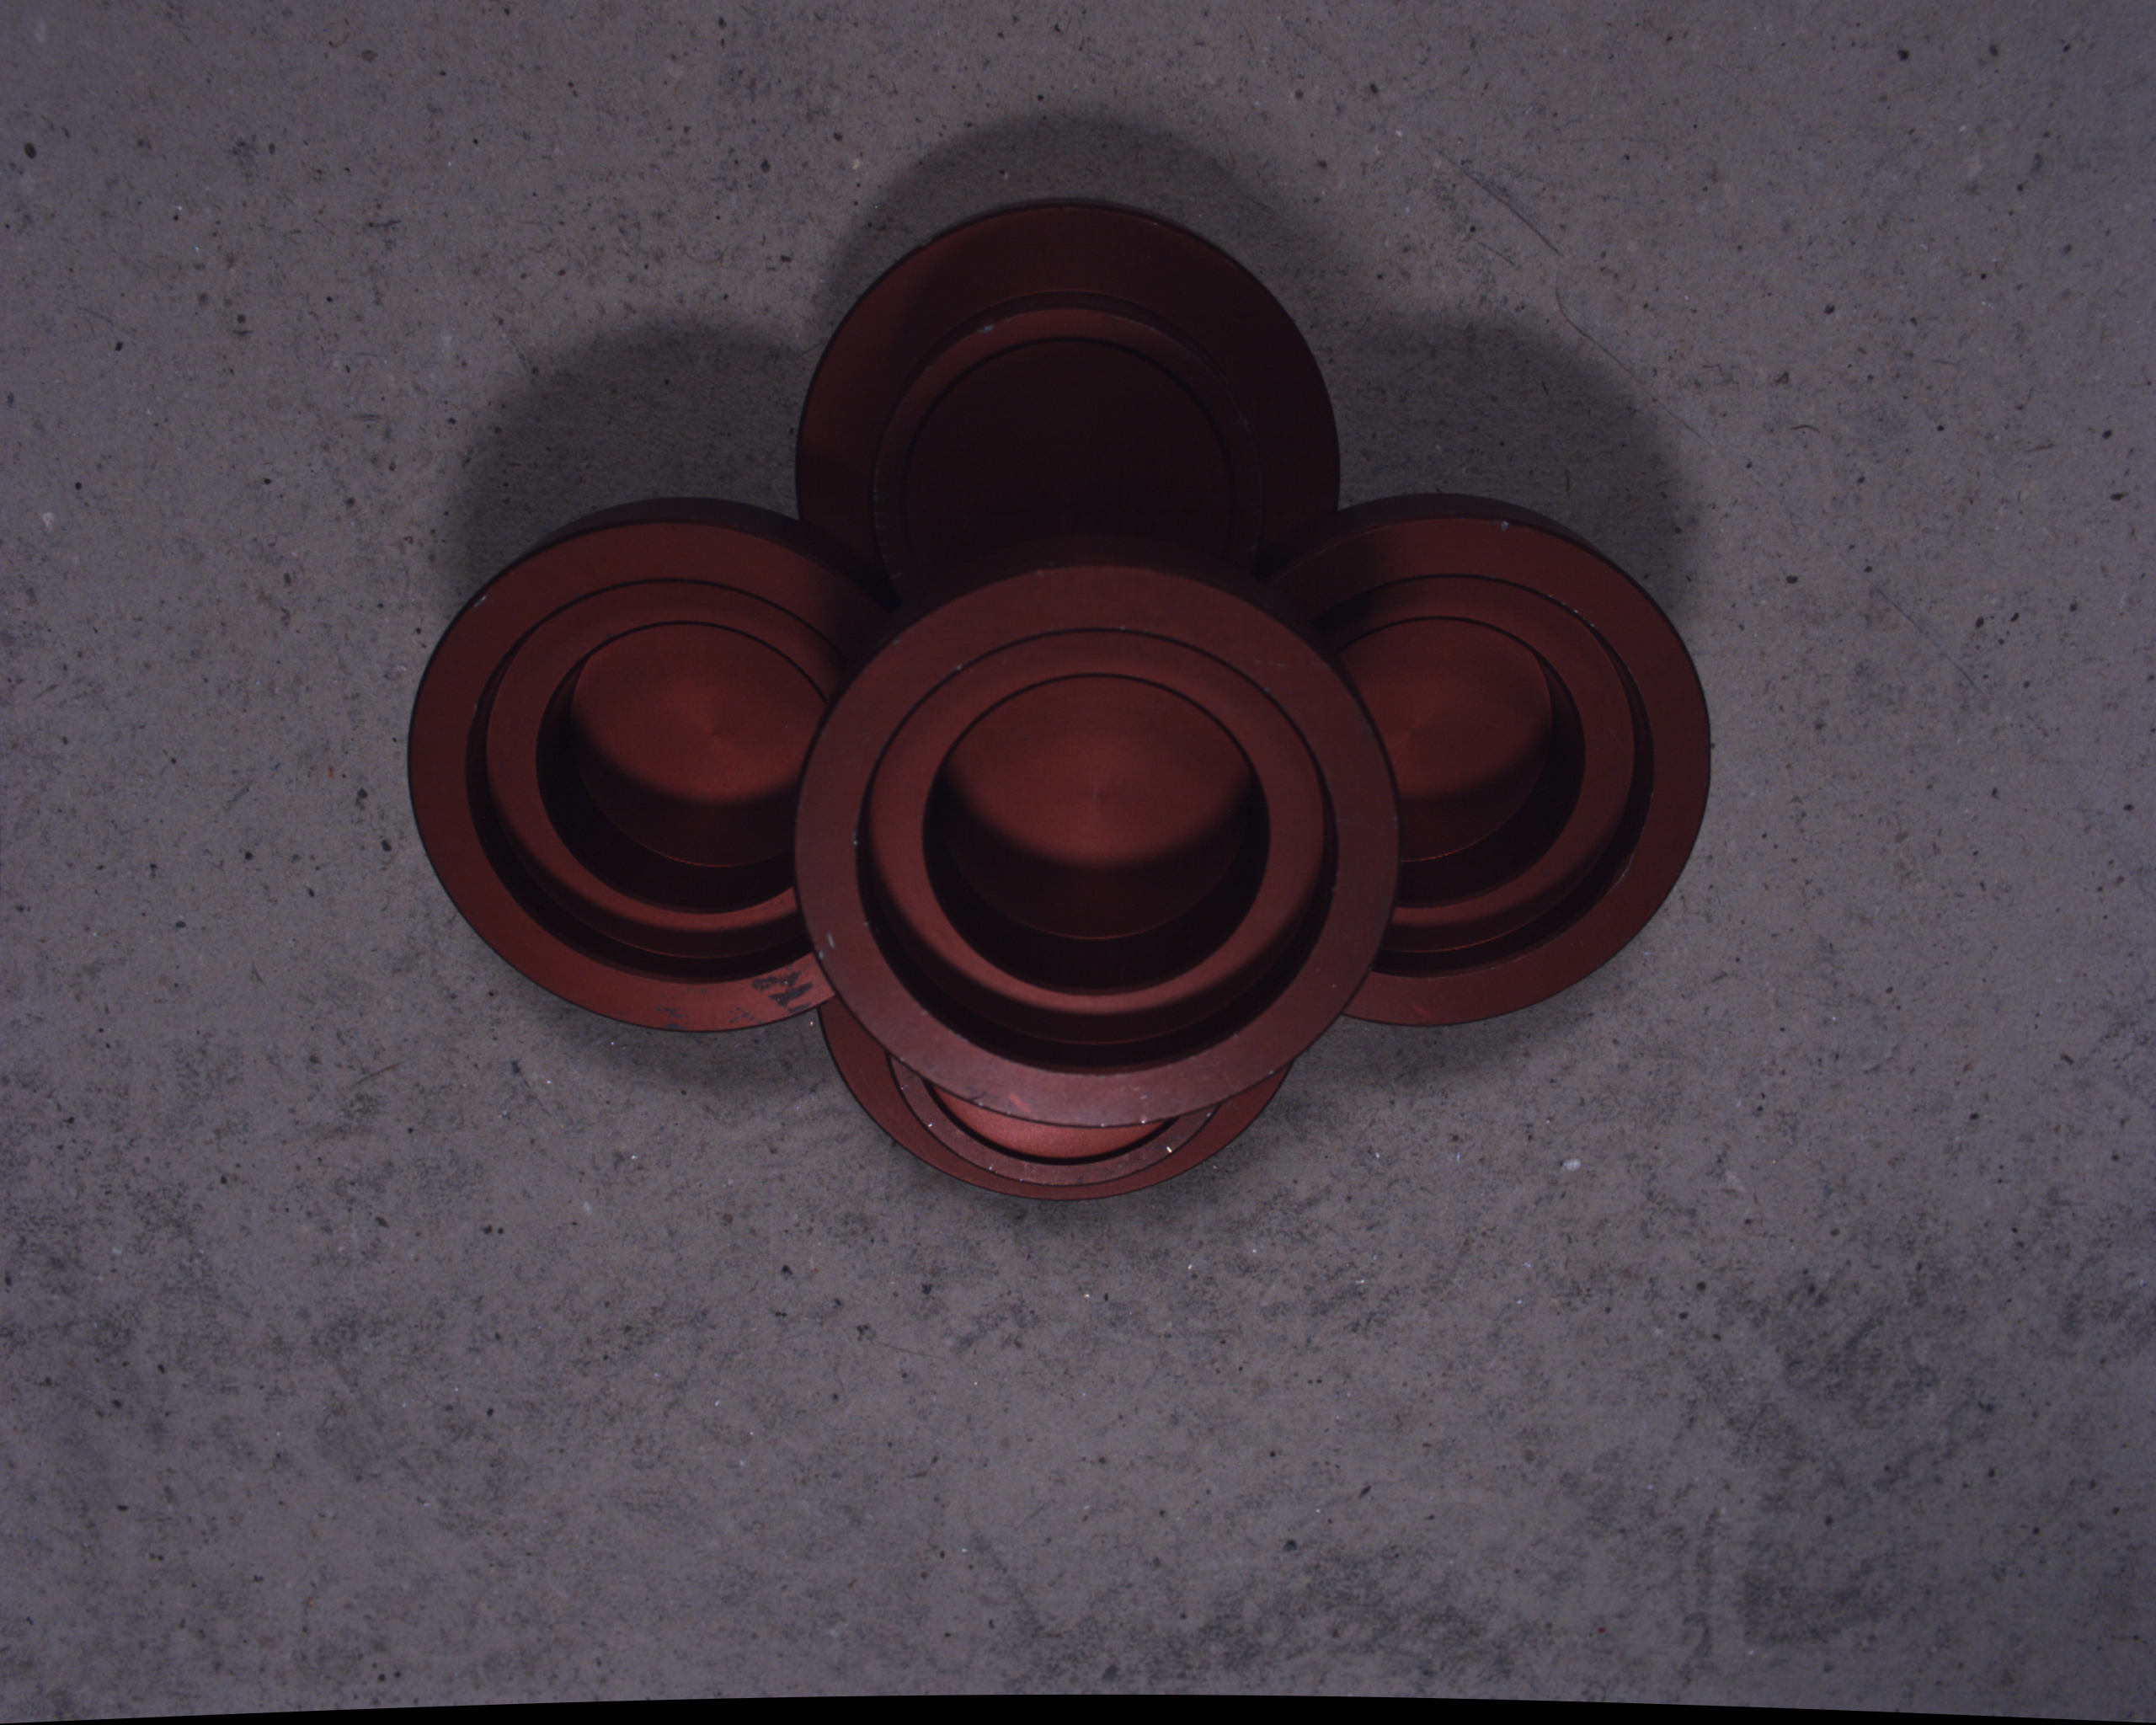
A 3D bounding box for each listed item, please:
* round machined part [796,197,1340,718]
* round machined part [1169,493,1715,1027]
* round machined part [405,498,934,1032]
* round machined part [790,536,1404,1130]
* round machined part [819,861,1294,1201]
[{"bbox_3d":[-0.002,-0.068,0.377,0.099,0.042,0.097,0,110,-1],"label":"round machined part"},{"bbox_3d":[0.065,-0.022,0.395,0.099,0.042,0.097,0,110,-1],"label":"round machined part"},{"bbox_3d":[-0.071,-0.021,0.393,0.099,0.042,0.097,0,110,-1],"label":"round machined part"},{"bbox_3d":[0.003,-0.007,0.354,0.099,0.042,0.097,0,111,-1],"label":"round machined part"},{"bbox_3d":[-0.003,0.024,0.411,0.099,0.042,0.097,0,110,-1],"label":"round machined part"}]
